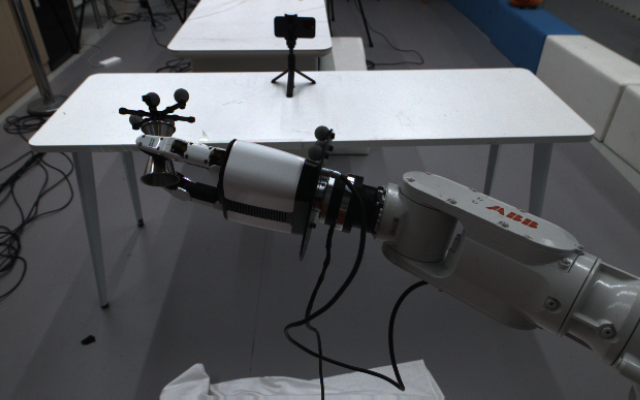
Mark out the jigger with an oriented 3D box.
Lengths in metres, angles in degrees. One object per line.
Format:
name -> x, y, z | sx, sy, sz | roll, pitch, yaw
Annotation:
jigger -> -0.191, -0.054, 0.578 | 0.043, 0.043, 0.071 | -5, 73, -11
